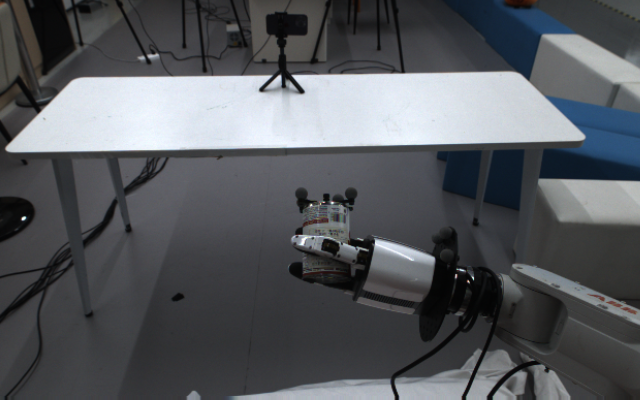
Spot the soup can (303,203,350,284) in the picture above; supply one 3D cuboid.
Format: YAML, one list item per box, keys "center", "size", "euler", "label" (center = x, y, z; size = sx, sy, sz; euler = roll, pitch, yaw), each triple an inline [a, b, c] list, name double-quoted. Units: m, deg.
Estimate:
- center: [0.010, 0.060, 0.665]
  size: [0.067, 0.067, 0.101]
  euler: [1, 73, -2]
  label: "soup can"
